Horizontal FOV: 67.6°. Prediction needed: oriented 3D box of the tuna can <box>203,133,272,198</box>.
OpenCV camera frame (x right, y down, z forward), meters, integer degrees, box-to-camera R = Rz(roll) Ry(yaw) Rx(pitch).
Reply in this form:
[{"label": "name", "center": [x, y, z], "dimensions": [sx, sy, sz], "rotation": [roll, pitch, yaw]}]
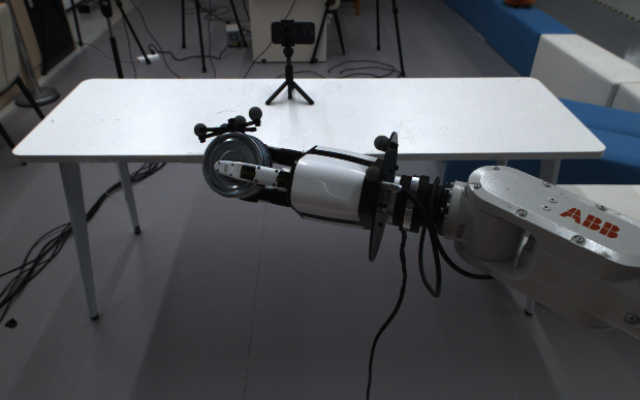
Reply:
[{"label": "tuna can", "center": [-0.104, -0.039, 0.622], "dimensions": [0.085, 0.085, 0.034], "rotation": [12, 3, 14]}]
